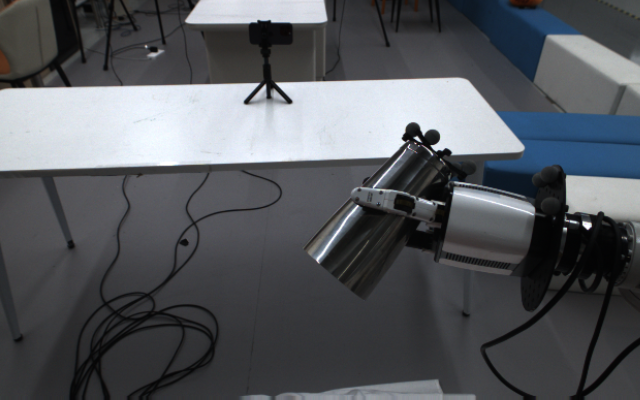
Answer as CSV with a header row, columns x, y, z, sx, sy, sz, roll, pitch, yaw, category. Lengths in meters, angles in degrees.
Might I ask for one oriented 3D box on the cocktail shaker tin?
x,y,z,sx,sy,sz,roll,pitch,yaw,category
0.071,0.016,0.549,0.170,0.093,0.093,-48,49,-3,cocktail shaker tin
